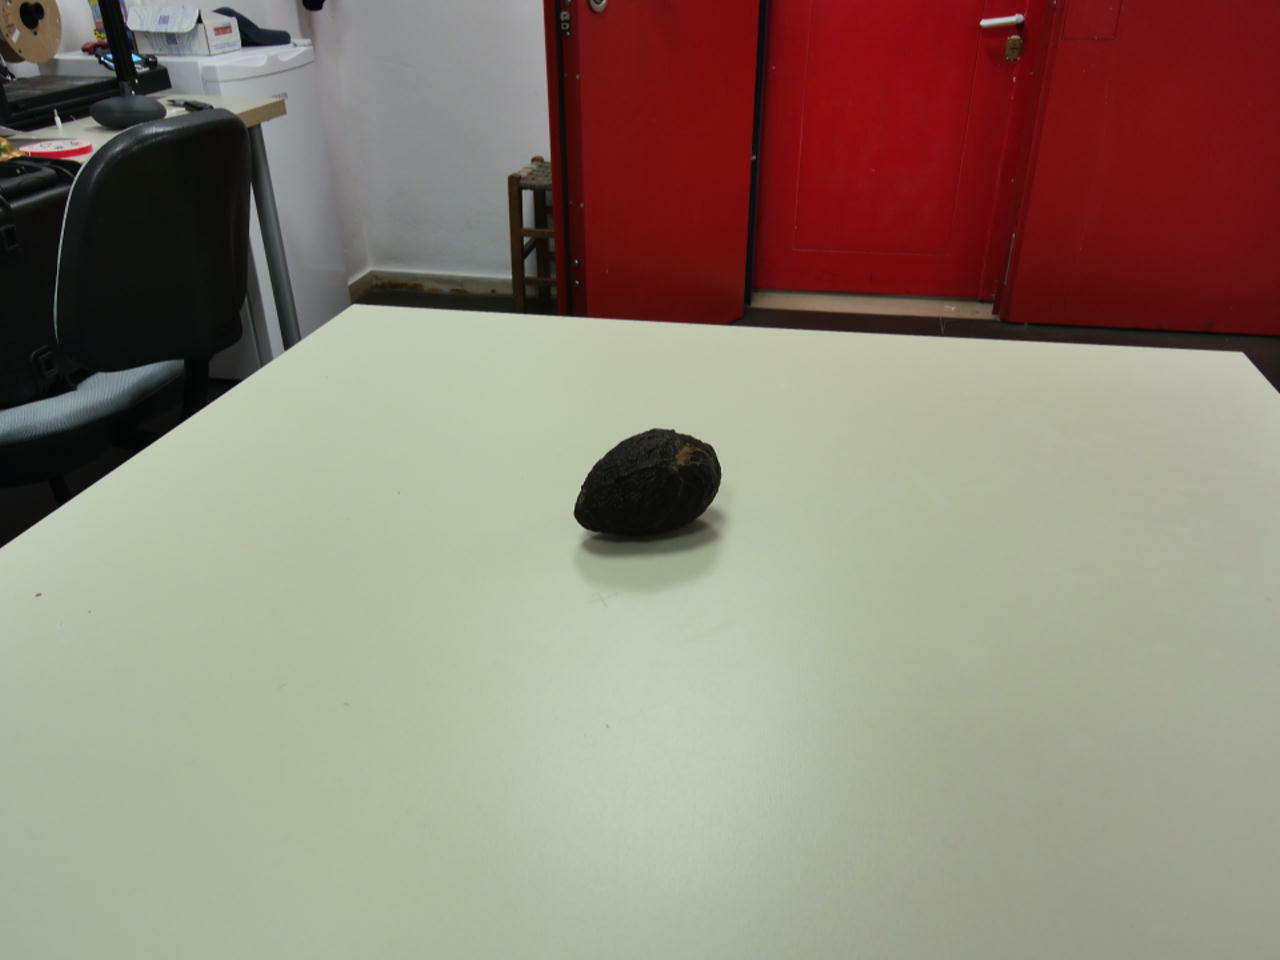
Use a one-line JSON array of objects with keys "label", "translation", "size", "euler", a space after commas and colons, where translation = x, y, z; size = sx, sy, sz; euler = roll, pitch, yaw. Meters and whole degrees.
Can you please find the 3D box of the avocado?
[{"label": "avocado", "translation": [0.004, 0.002, 0.602], "size": [0.092, 0.062, 0.062], "euler": [-6, 27, -11]}]
